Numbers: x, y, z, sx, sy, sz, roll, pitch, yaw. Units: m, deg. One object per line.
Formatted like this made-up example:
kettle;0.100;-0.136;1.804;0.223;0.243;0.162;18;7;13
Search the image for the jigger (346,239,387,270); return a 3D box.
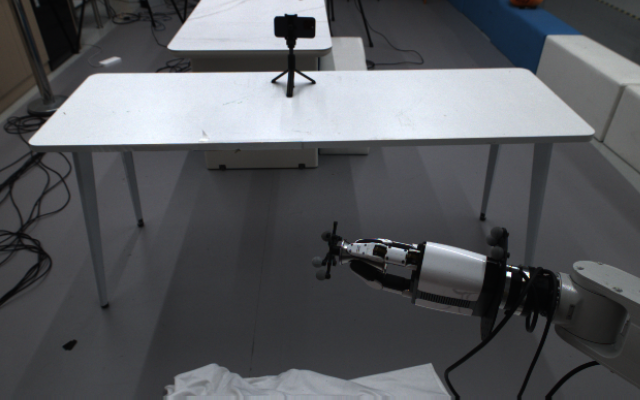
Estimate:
jigger;0.073;0.078;0.718;0.071;0.043;0.043;7;35;16
